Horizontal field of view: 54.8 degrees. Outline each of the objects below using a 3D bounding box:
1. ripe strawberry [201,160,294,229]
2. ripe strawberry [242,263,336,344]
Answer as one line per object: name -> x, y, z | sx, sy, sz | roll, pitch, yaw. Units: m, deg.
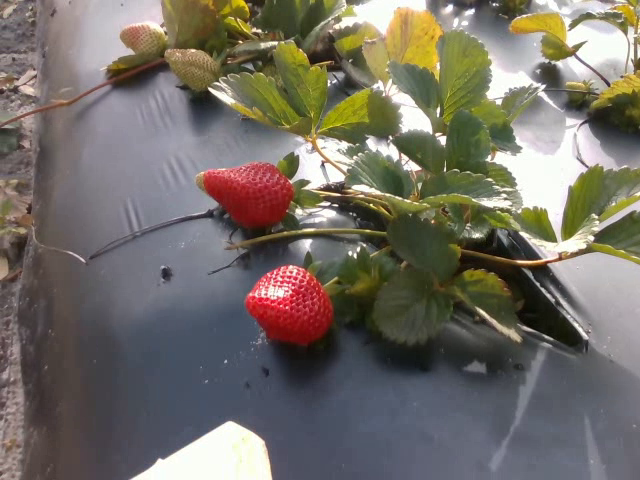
ripe strawberry -> -0.030, -0.024, 0.255 | 0.036, 0.041, 0.035 | 16, 18, -27
ripe strawberry -> -0.014, 0.019, 0.203 | 0.037, 0.034, 0.039 | -36, -34, 32
